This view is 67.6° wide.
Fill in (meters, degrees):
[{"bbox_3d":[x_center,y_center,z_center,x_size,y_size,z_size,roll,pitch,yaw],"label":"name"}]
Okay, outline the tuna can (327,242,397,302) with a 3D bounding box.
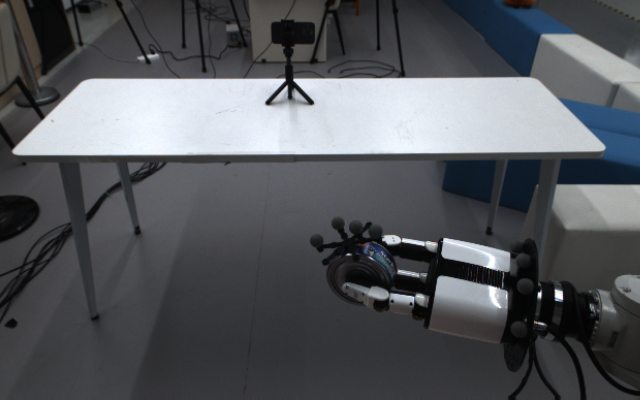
[{"bbox_3d":[0.055,0.092,0.616,0.085,0.085,0.034,11,34,13],"label":"tuna can"}]
